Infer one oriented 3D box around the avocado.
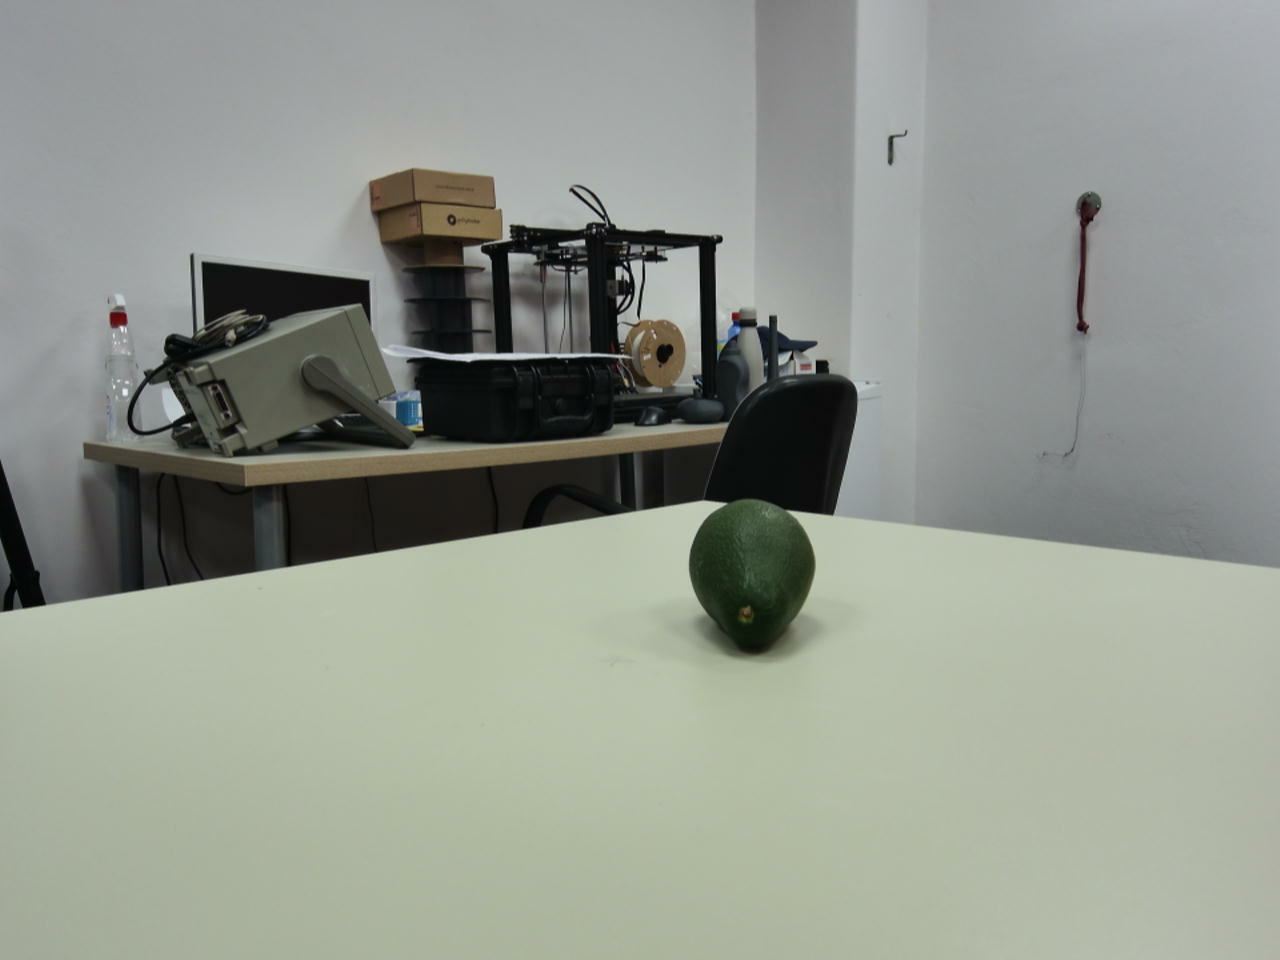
[{"bbox_3d":[0.057,0.048,0.549,0.073,0.071,0.109,3,6,25],"label":"avocado"}]
